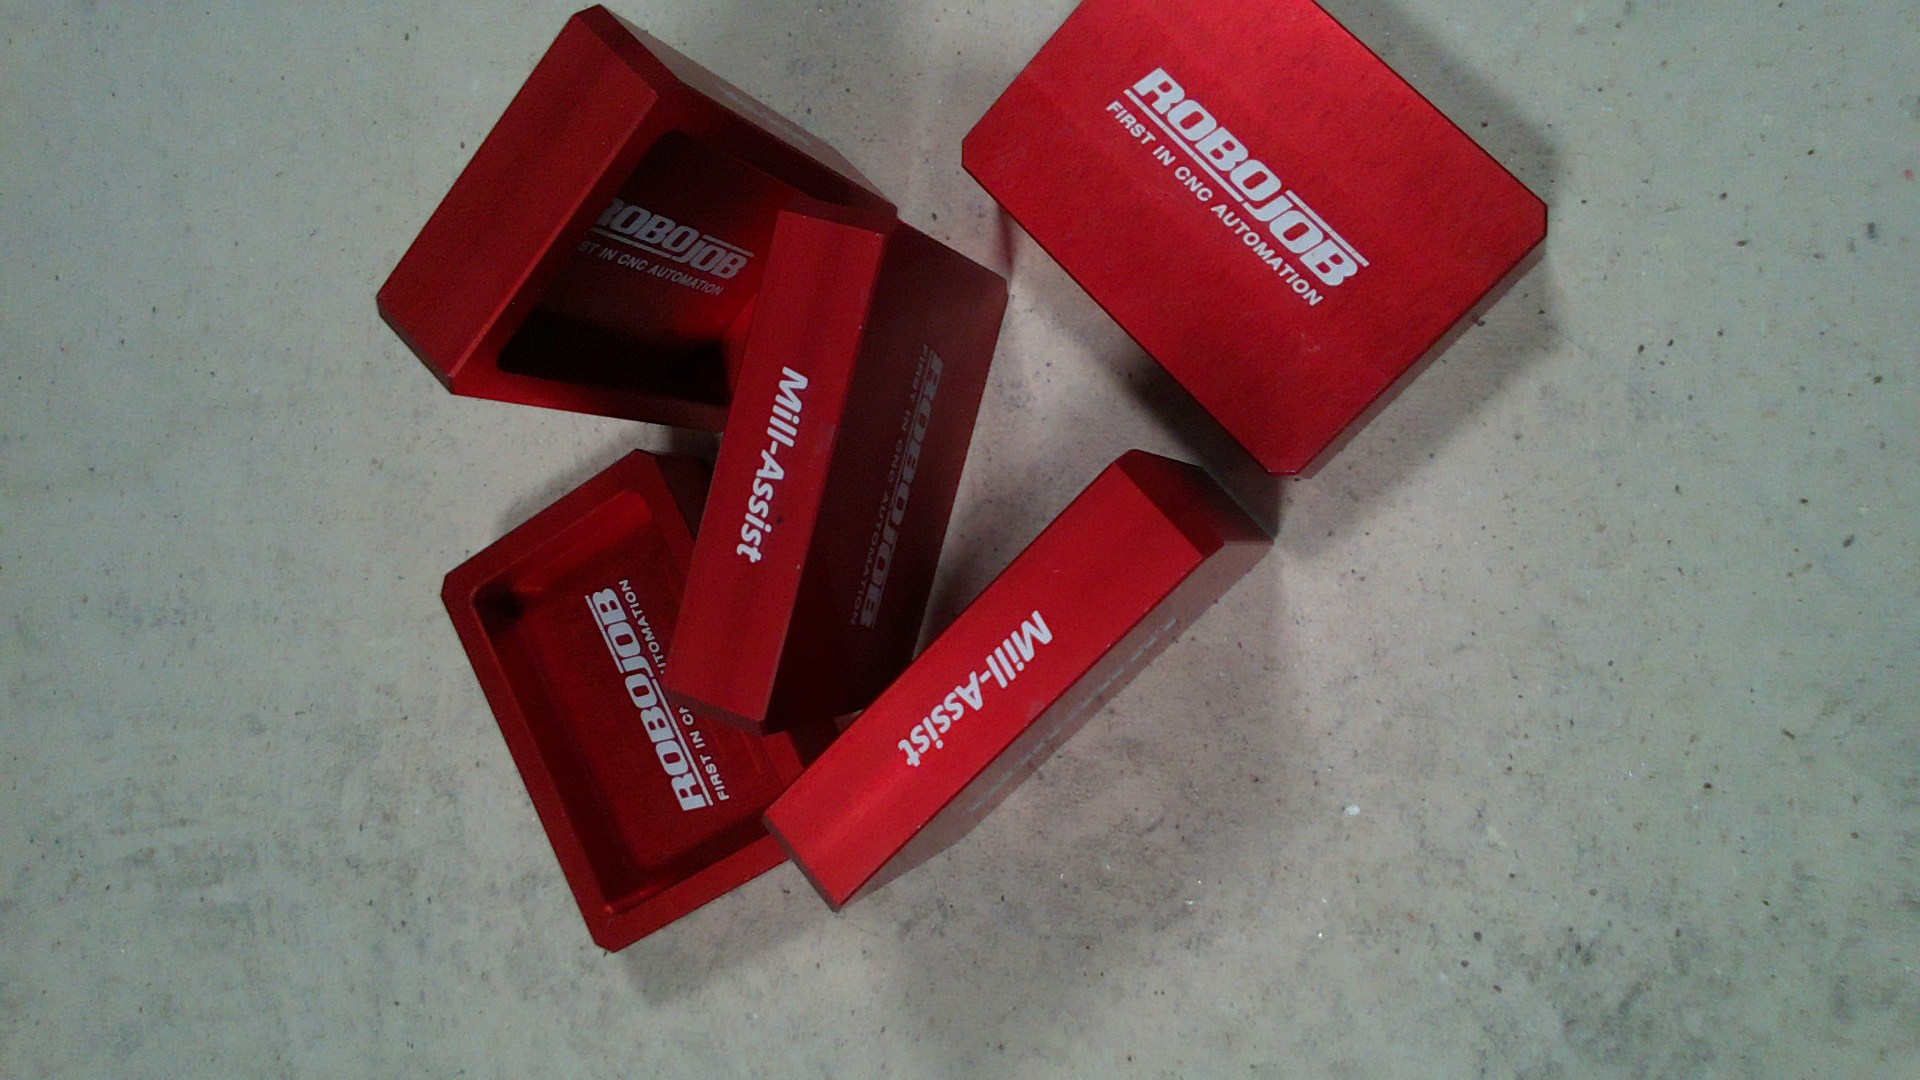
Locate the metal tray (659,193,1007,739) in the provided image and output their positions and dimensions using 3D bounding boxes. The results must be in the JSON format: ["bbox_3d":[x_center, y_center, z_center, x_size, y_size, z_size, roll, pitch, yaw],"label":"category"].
[{"bbox_3d":[-0.030,-0.018,0.372,0.030,0.090,0.130,17,96,19],"label":"metal tray"}]

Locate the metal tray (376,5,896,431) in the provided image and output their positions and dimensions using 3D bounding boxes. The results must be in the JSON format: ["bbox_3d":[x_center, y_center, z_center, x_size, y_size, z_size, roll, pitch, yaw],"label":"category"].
[{"bbox_3d":[-0.078,-0.076,0.368,0.030,0.130,0.090,45,104,14],"label":"metal tray"}]

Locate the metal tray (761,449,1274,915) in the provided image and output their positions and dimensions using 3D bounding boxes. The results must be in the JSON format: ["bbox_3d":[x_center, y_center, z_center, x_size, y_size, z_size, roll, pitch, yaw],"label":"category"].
[{"bbox_3d":[0.018,0.035,0.355,0.130,0.090,0.030,-46,76,14],"label":"metal tray"}]

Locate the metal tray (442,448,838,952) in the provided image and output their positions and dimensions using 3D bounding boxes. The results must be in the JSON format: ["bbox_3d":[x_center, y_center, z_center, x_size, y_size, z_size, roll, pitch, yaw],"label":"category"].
[{"bbox_3d":[-0.096,0.049,0.428,0.090,0.030,0.130,-30,80,17],"label":"metal tray"}]

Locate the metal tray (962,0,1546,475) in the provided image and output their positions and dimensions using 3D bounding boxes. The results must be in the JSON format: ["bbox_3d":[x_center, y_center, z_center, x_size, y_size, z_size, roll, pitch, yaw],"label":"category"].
[{"bbox_3d":[0.075,-0.092,0.366,0.090,0.030,0.130,-46,76,14],"label":"metal tray"}]
